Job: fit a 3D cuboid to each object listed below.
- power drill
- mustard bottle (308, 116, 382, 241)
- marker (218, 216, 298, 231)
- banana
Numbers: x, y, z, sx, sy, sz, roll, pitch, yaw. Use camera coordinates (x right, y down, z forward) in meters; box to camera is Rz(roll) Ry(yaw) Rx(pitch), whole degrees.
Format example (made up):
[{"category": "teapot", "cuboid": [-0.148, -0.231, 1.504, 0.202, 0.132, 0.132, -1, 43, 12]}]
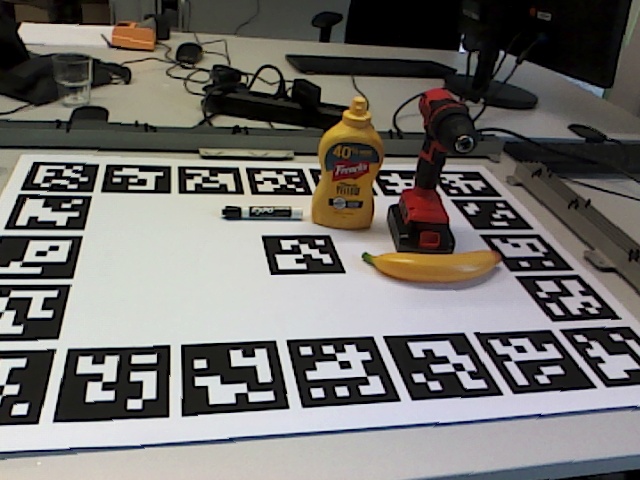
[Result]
[{"category": "power drill", "cuboid": [0.156, -0.069, 0.872, 0.057, 0.187, 0.185, 9, 30, -1]}, {"category": "mustard bottle", "cuboid": [0.040, -0.091, 0.915, 0.096, 0.191, 0.058, 7, 32, -3]}, {"category": "marker", "cuboid": [-0.095, -0.025, 0.945, 0.121, 0.019, 0.020, 1, 34, -9]}, {"category": "banana", "cuboid": [0.150, 0.059, 0.849, 0.197, 0.039, 0.074, 3, 34, -3]}]
